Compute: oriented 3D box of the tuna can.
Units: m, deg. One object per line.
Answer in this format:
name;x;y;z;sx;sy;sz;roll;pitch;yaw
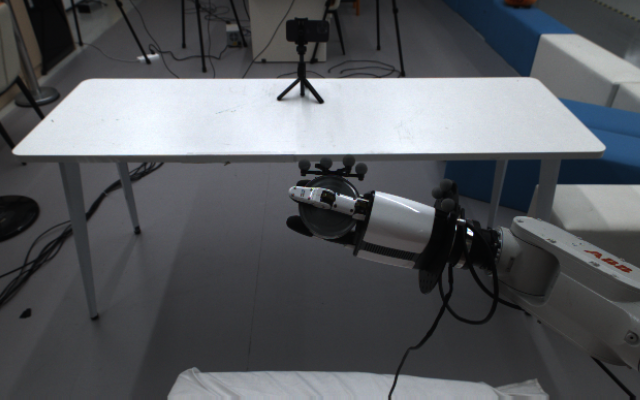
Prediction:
tuna can;0.015;0.009;0.663;0.085;0.034;0.085;0;74;0
